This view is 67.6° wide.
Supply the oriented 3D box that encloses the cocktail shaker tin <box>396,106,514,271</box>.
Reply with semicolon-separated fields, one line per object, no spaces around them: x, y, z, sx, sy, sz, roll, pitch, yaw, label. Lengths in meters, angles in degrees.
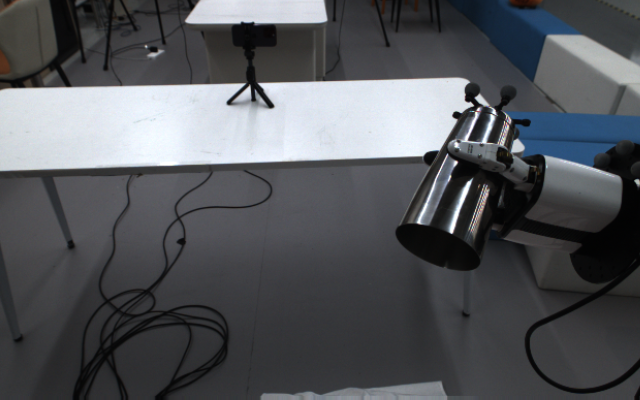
0.161;-0.023;0.532;0.093;0.093;0.170;18;66;22;cocktail shaker tin
